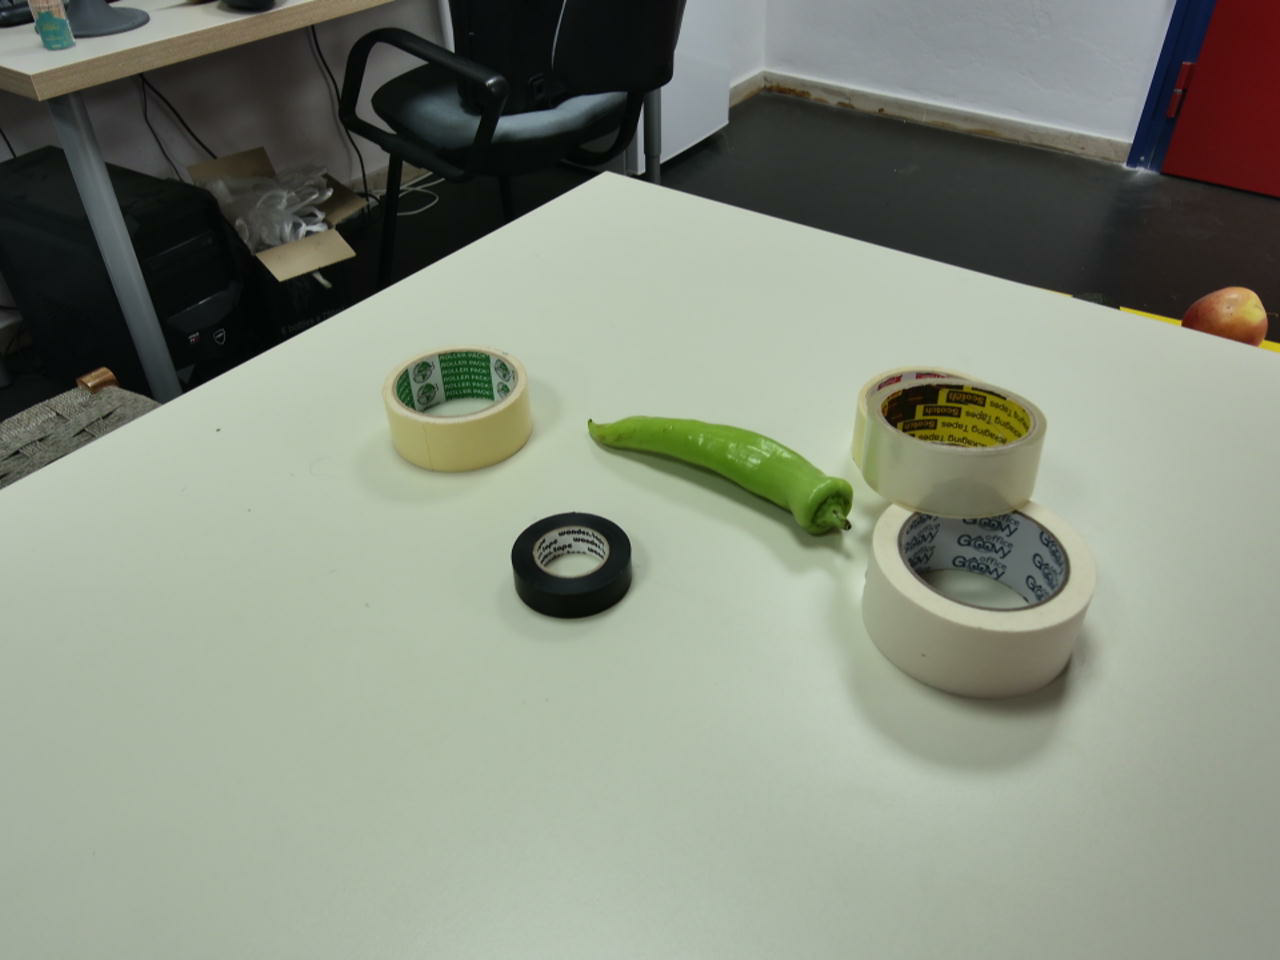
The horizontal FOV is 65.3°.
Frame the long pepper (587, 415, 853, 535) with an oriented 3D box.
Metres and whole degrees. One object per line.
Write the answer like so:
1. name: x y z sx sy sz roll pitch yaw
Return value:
1. long pepper: 0.048 -0.016 0.607 0.197 0.038 0.046 26 45 31
